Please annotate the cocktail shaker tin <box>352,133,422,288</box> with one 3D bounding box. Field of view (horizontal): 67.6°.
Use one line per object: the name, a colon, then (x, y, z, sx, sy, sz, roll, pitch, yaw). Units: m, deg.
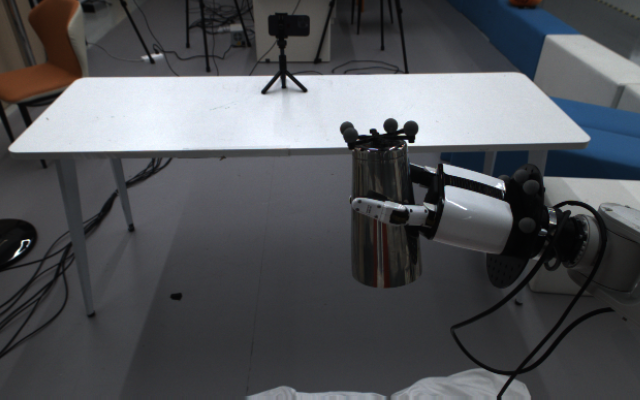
cocktail shaker tin: (0.080, 0.013, 0.607, 0.093, 0.170, 0.093, -6, 19, 2)
